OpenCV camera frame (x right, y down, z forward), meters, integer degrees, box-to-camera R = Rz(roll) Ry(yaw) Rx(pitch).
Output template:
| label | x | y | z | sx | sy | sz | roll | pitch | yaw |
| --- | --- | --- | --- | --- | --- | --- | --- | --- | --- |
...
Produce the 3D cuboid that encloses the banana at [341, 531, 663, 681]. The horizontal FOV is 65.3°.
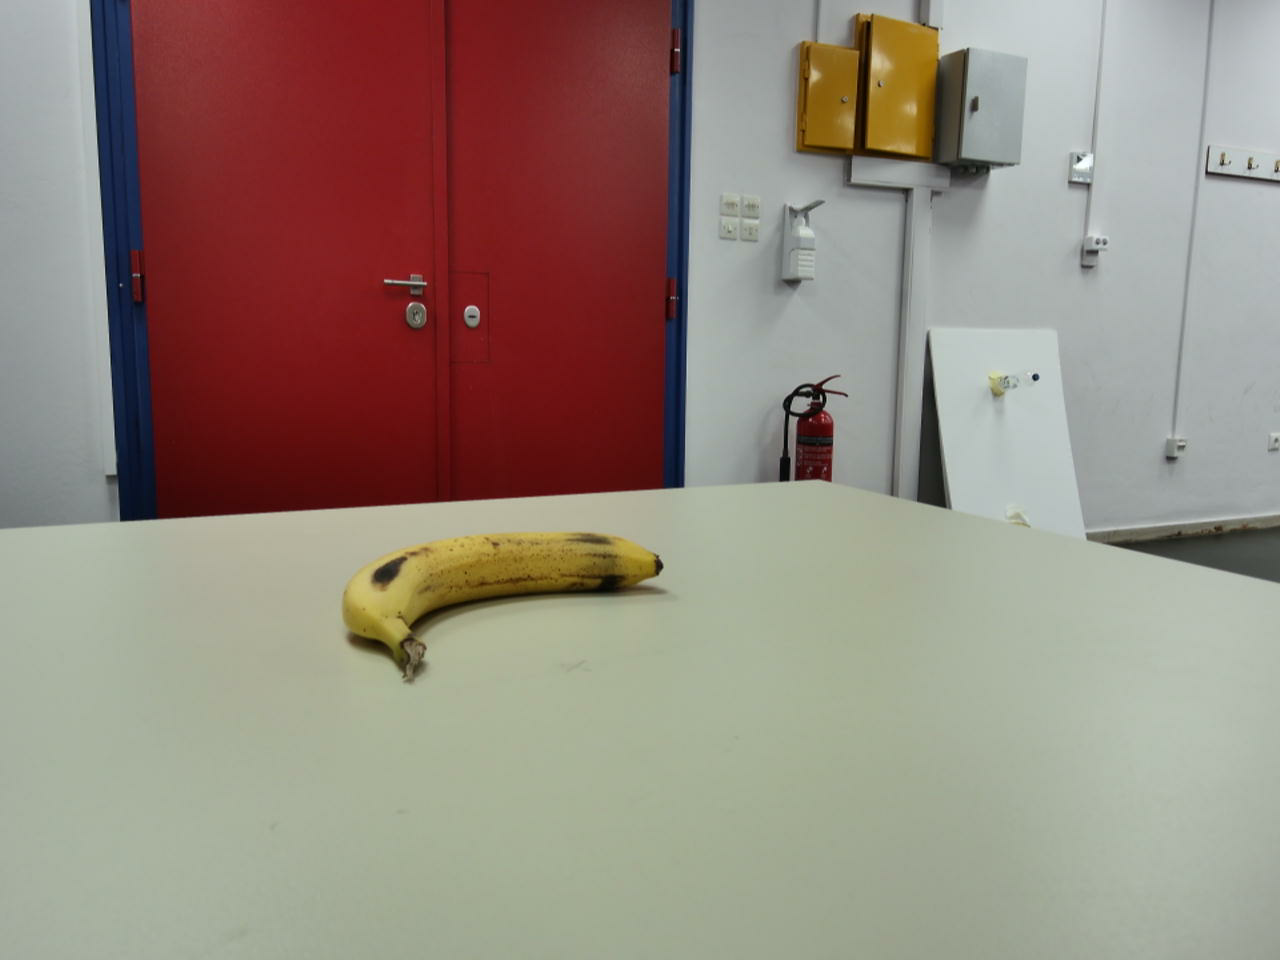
| label | x | y | z | sx | sy | sz | roll | pitch | yaw |
| --- | --- | --- | --- | --- | --- | --- | --- | --- | --- |
| banana | -0.078 | 0.052 | 0.521 | 0.097 | 0.038 | 0.186 | 5 | 8 | 37 |
